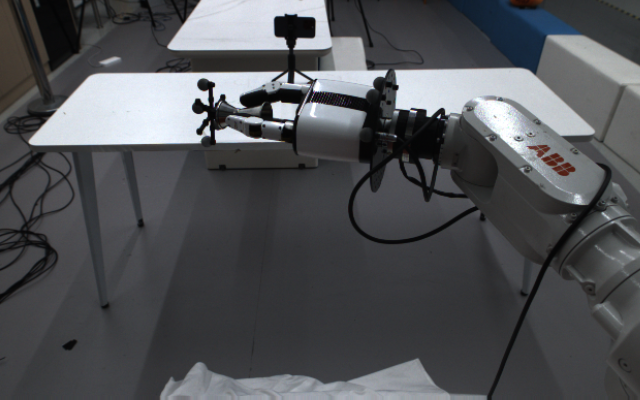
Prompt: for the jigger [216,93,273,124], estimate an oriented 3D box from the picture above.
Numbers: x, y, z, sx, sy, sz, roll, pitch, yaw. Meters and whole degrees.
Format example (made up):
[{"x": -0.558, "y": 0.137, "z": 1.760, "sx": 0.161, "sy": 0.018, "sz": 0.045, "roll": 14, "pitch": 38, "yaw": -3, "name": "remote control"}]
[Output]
[{"x": -0.099, "y": -0.119, "z": 0.675, "sx": 0.071, "sy": 0.043, "sz": 0.043, "roll": 6, "pitch": 35, "yaw": 15, "name": "jigger"}]
